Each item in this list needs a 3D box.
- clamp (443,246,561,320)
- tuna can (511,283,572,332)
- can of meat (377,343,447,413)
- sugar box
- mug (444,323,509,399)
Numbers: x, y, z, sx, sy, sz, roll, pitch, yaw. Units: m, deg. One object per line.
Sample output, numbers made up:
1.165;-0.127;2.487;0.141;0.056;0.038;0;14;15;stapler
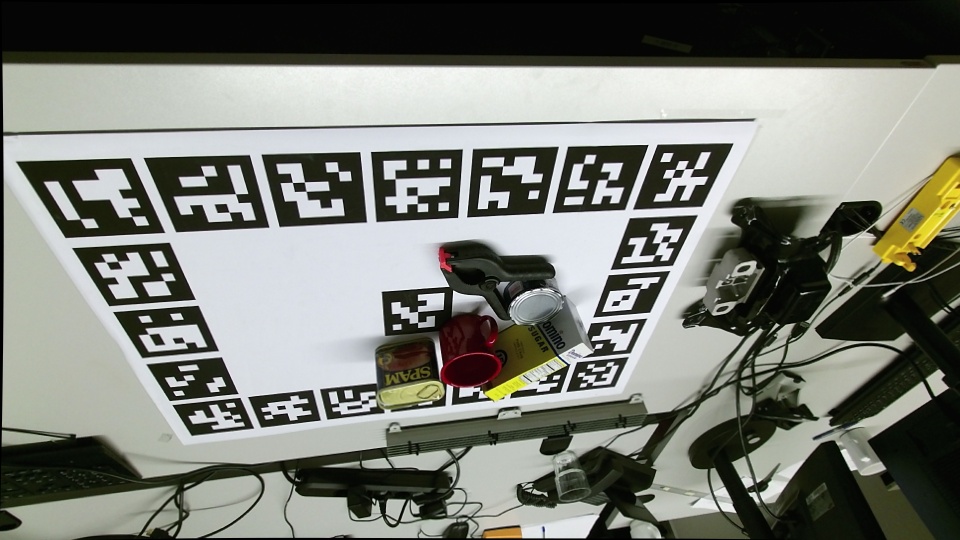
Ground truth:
0.017;0.012;0.749;0.166;0.036;0.122;28;126;-29;clamp
0.090;0.051;0.796;0.086;0.033;0.086;-7;133;-8;tuna can
-0.108;0.166;0.833;0.102;0.083;0.058;-9;136;-3;can of meat
0.085;0.130;0.839;0.177;0.092;0.045;-31;134;17;sugar box
-0.004;0.127;0.810;0.094;0.081;0.117;16;126;-26;mug
